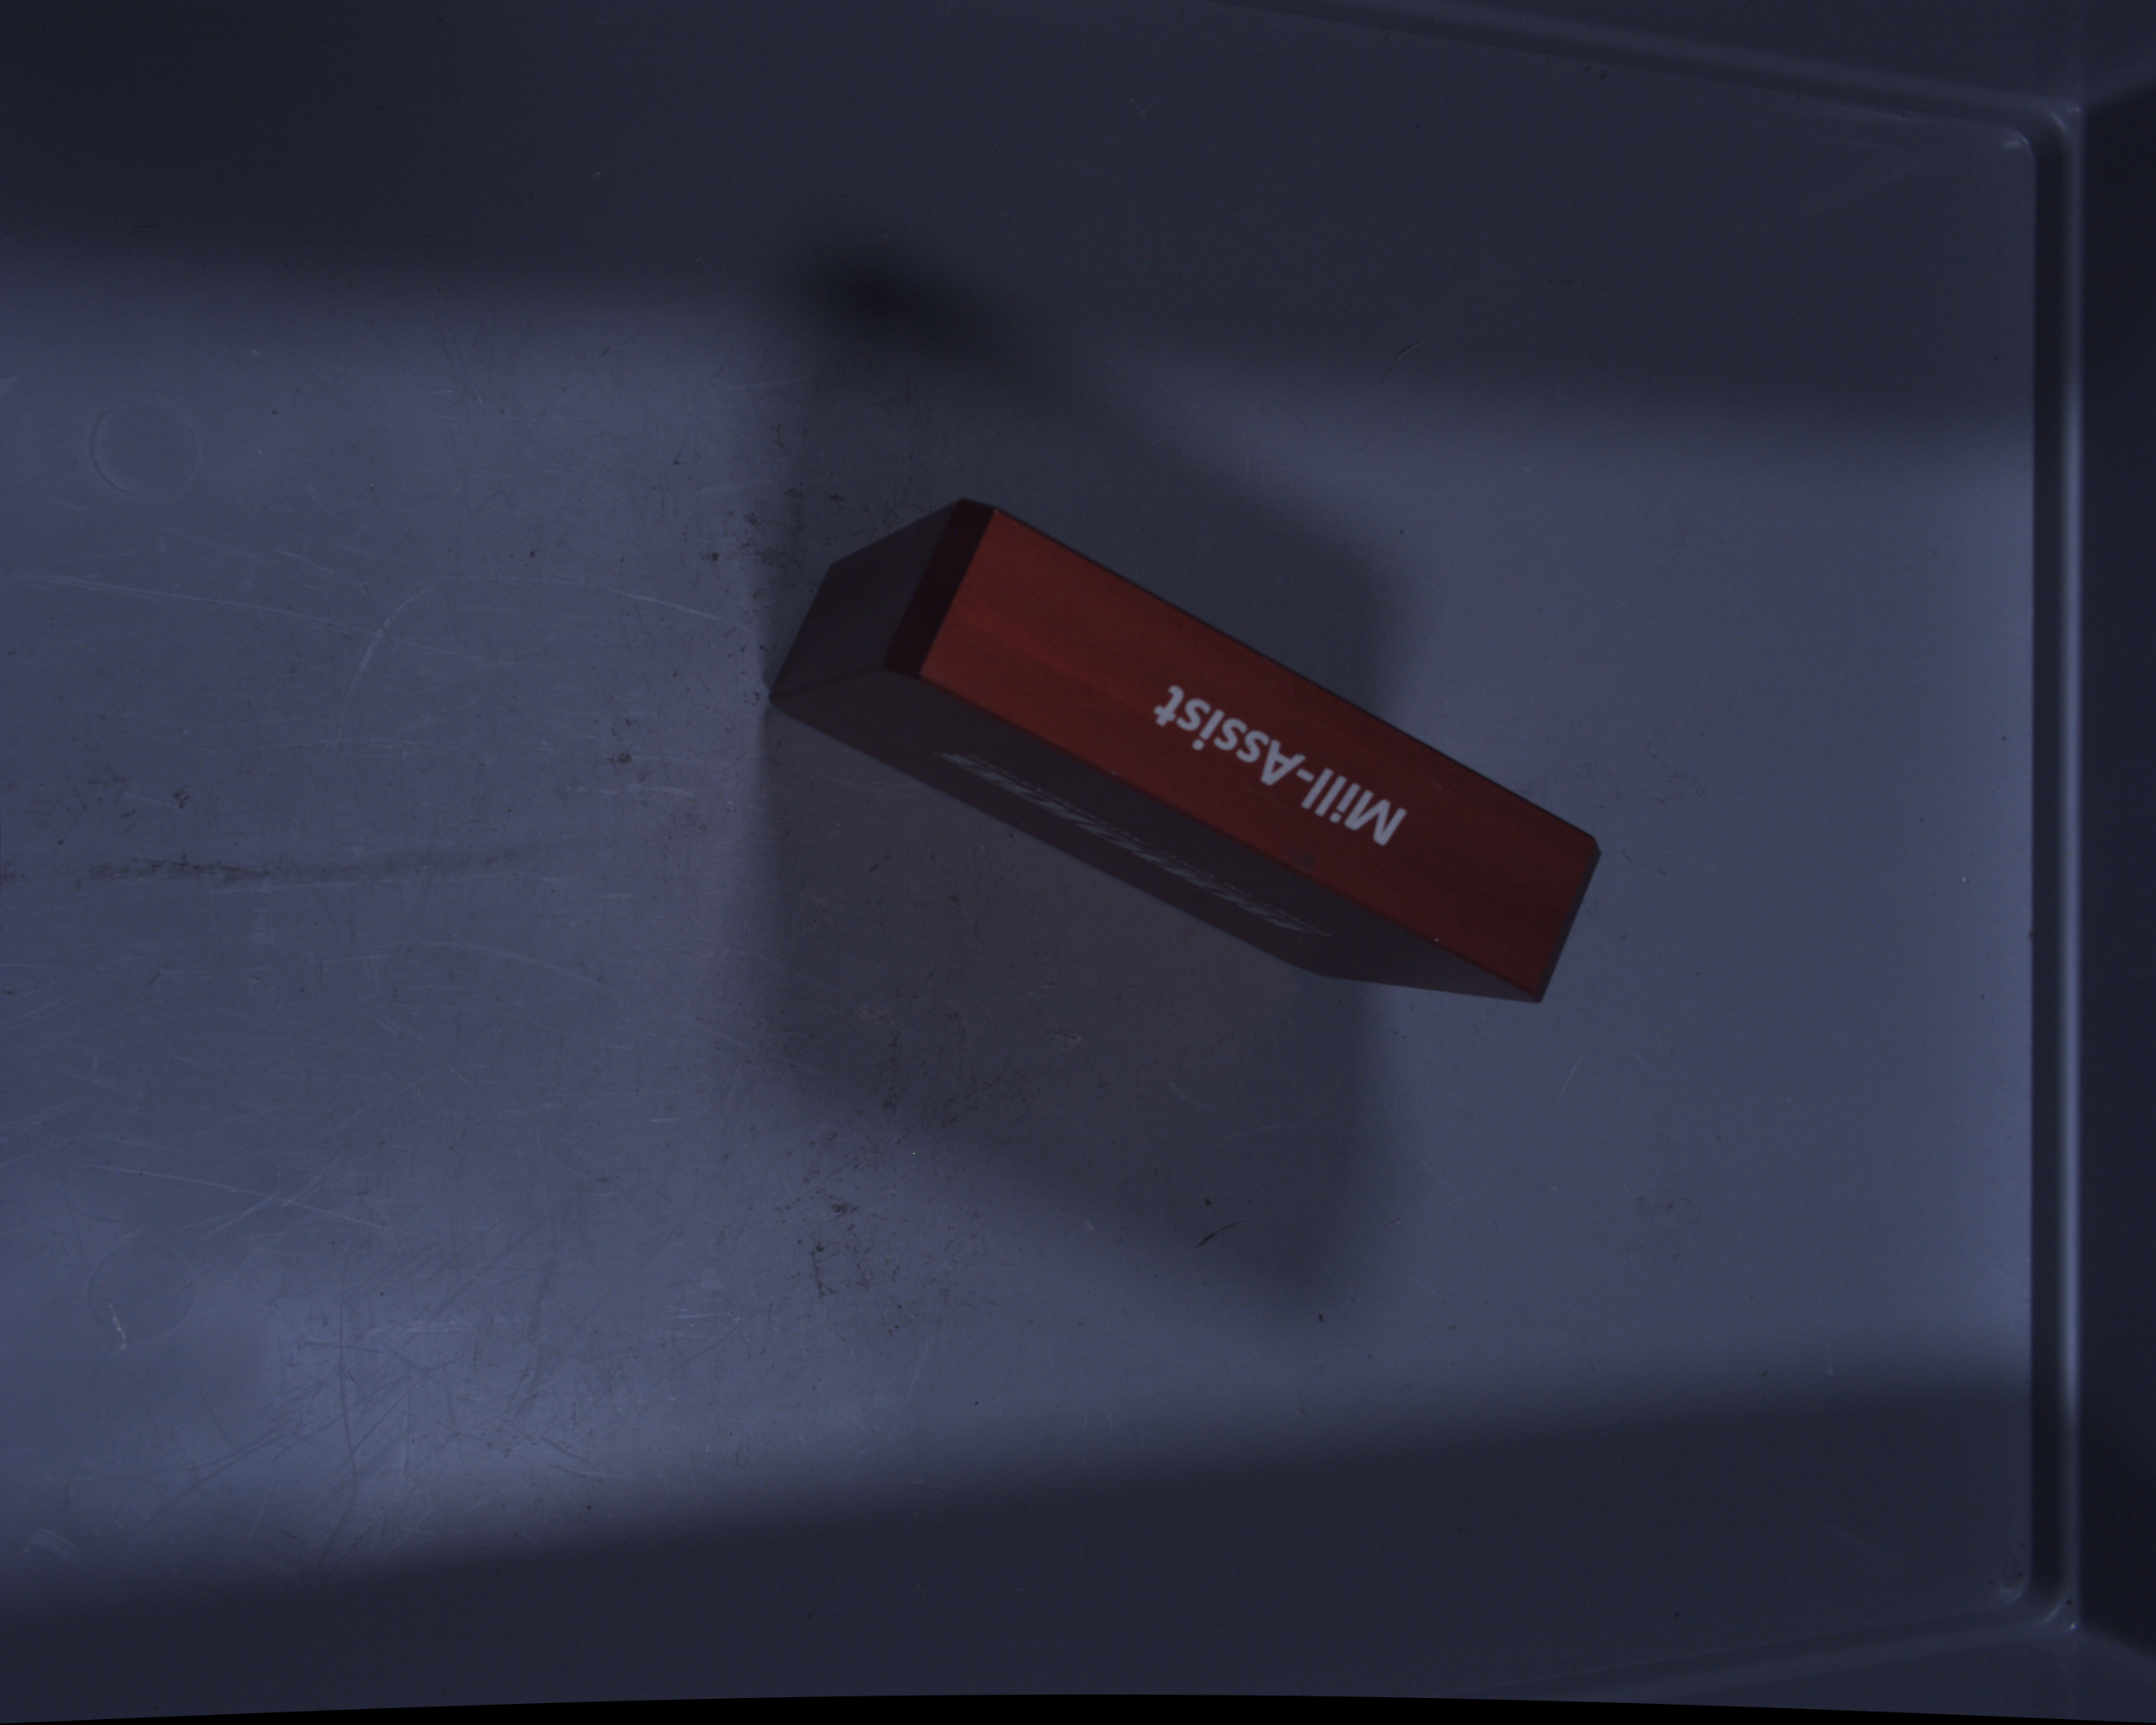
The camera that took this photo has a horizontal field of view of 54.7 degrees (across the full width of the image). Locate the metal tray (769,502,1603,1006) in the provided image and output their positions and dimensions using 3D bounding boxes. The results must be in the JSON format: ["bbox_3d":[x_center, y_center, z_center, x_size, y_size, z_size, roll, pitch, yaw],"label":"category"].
[{"bbox_3d":[0.017,-0.016,0.380,0.131,0.090,0.030,26,81,-19],"label":"metal tray"}]
